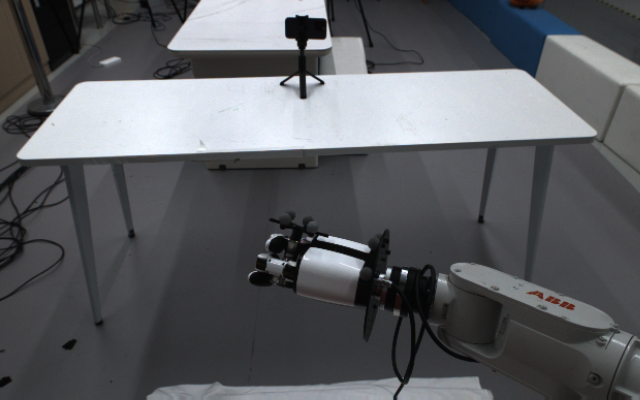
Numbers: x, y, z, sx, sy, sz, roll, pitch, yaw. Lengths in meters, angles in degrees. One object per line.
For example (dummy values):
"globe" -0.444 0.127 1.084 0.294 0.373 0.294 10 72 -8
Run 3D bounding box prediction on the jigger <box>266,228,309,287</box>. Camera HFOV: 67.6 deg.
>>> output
"jigger" -0.044 0.089 0.703 0.043 0.071 0.043 17 2 -1
